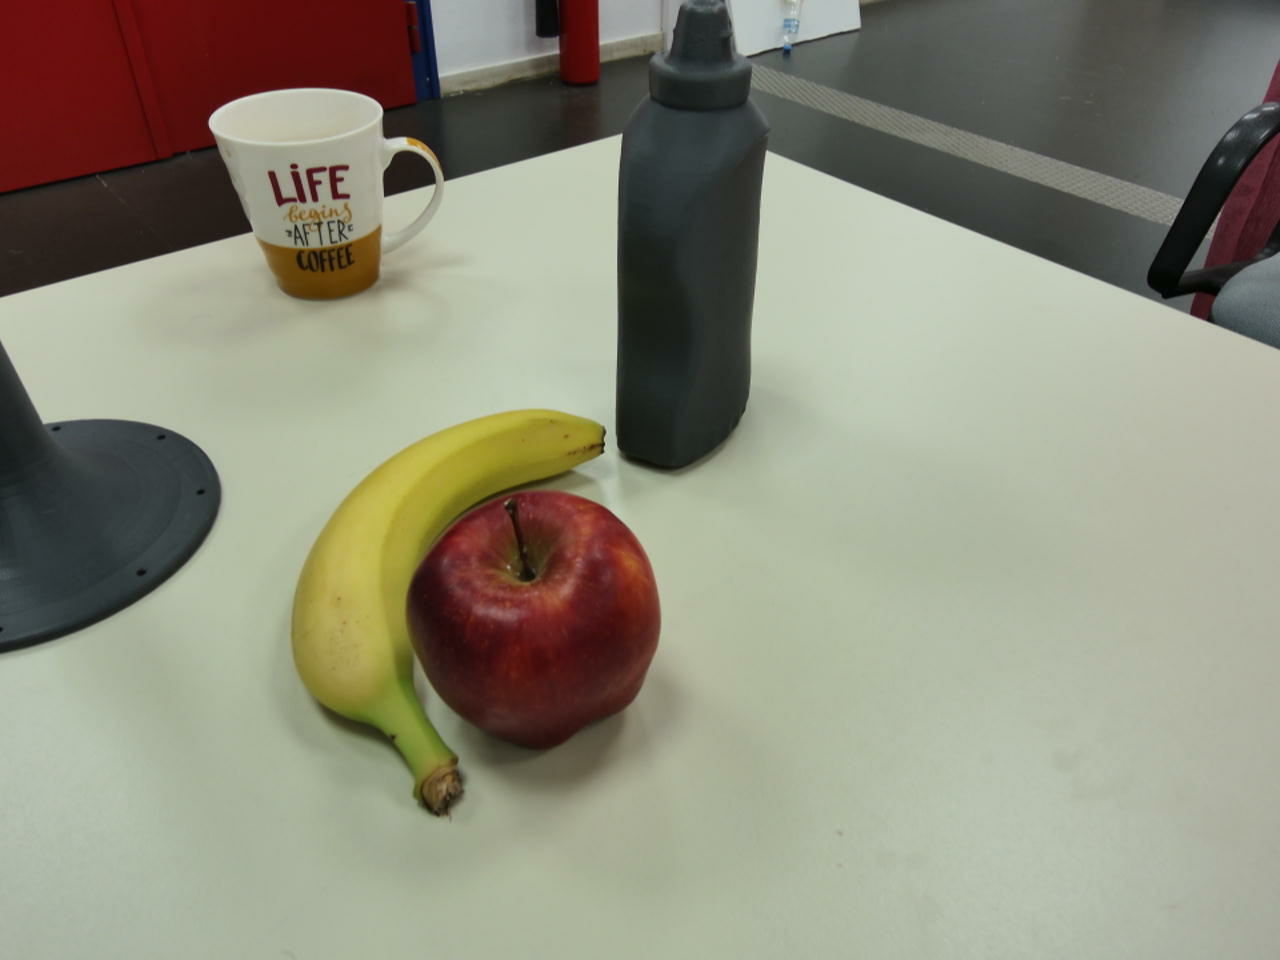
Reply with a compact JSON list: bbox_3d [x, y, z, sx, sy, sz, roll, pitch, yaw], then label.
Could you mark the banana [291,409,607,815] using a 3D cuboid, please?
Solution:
[{"bbox_3d":[-0.081,0.029,0.393,0.094,0.041,0.196,9,37,11],"label":"banana"}]
